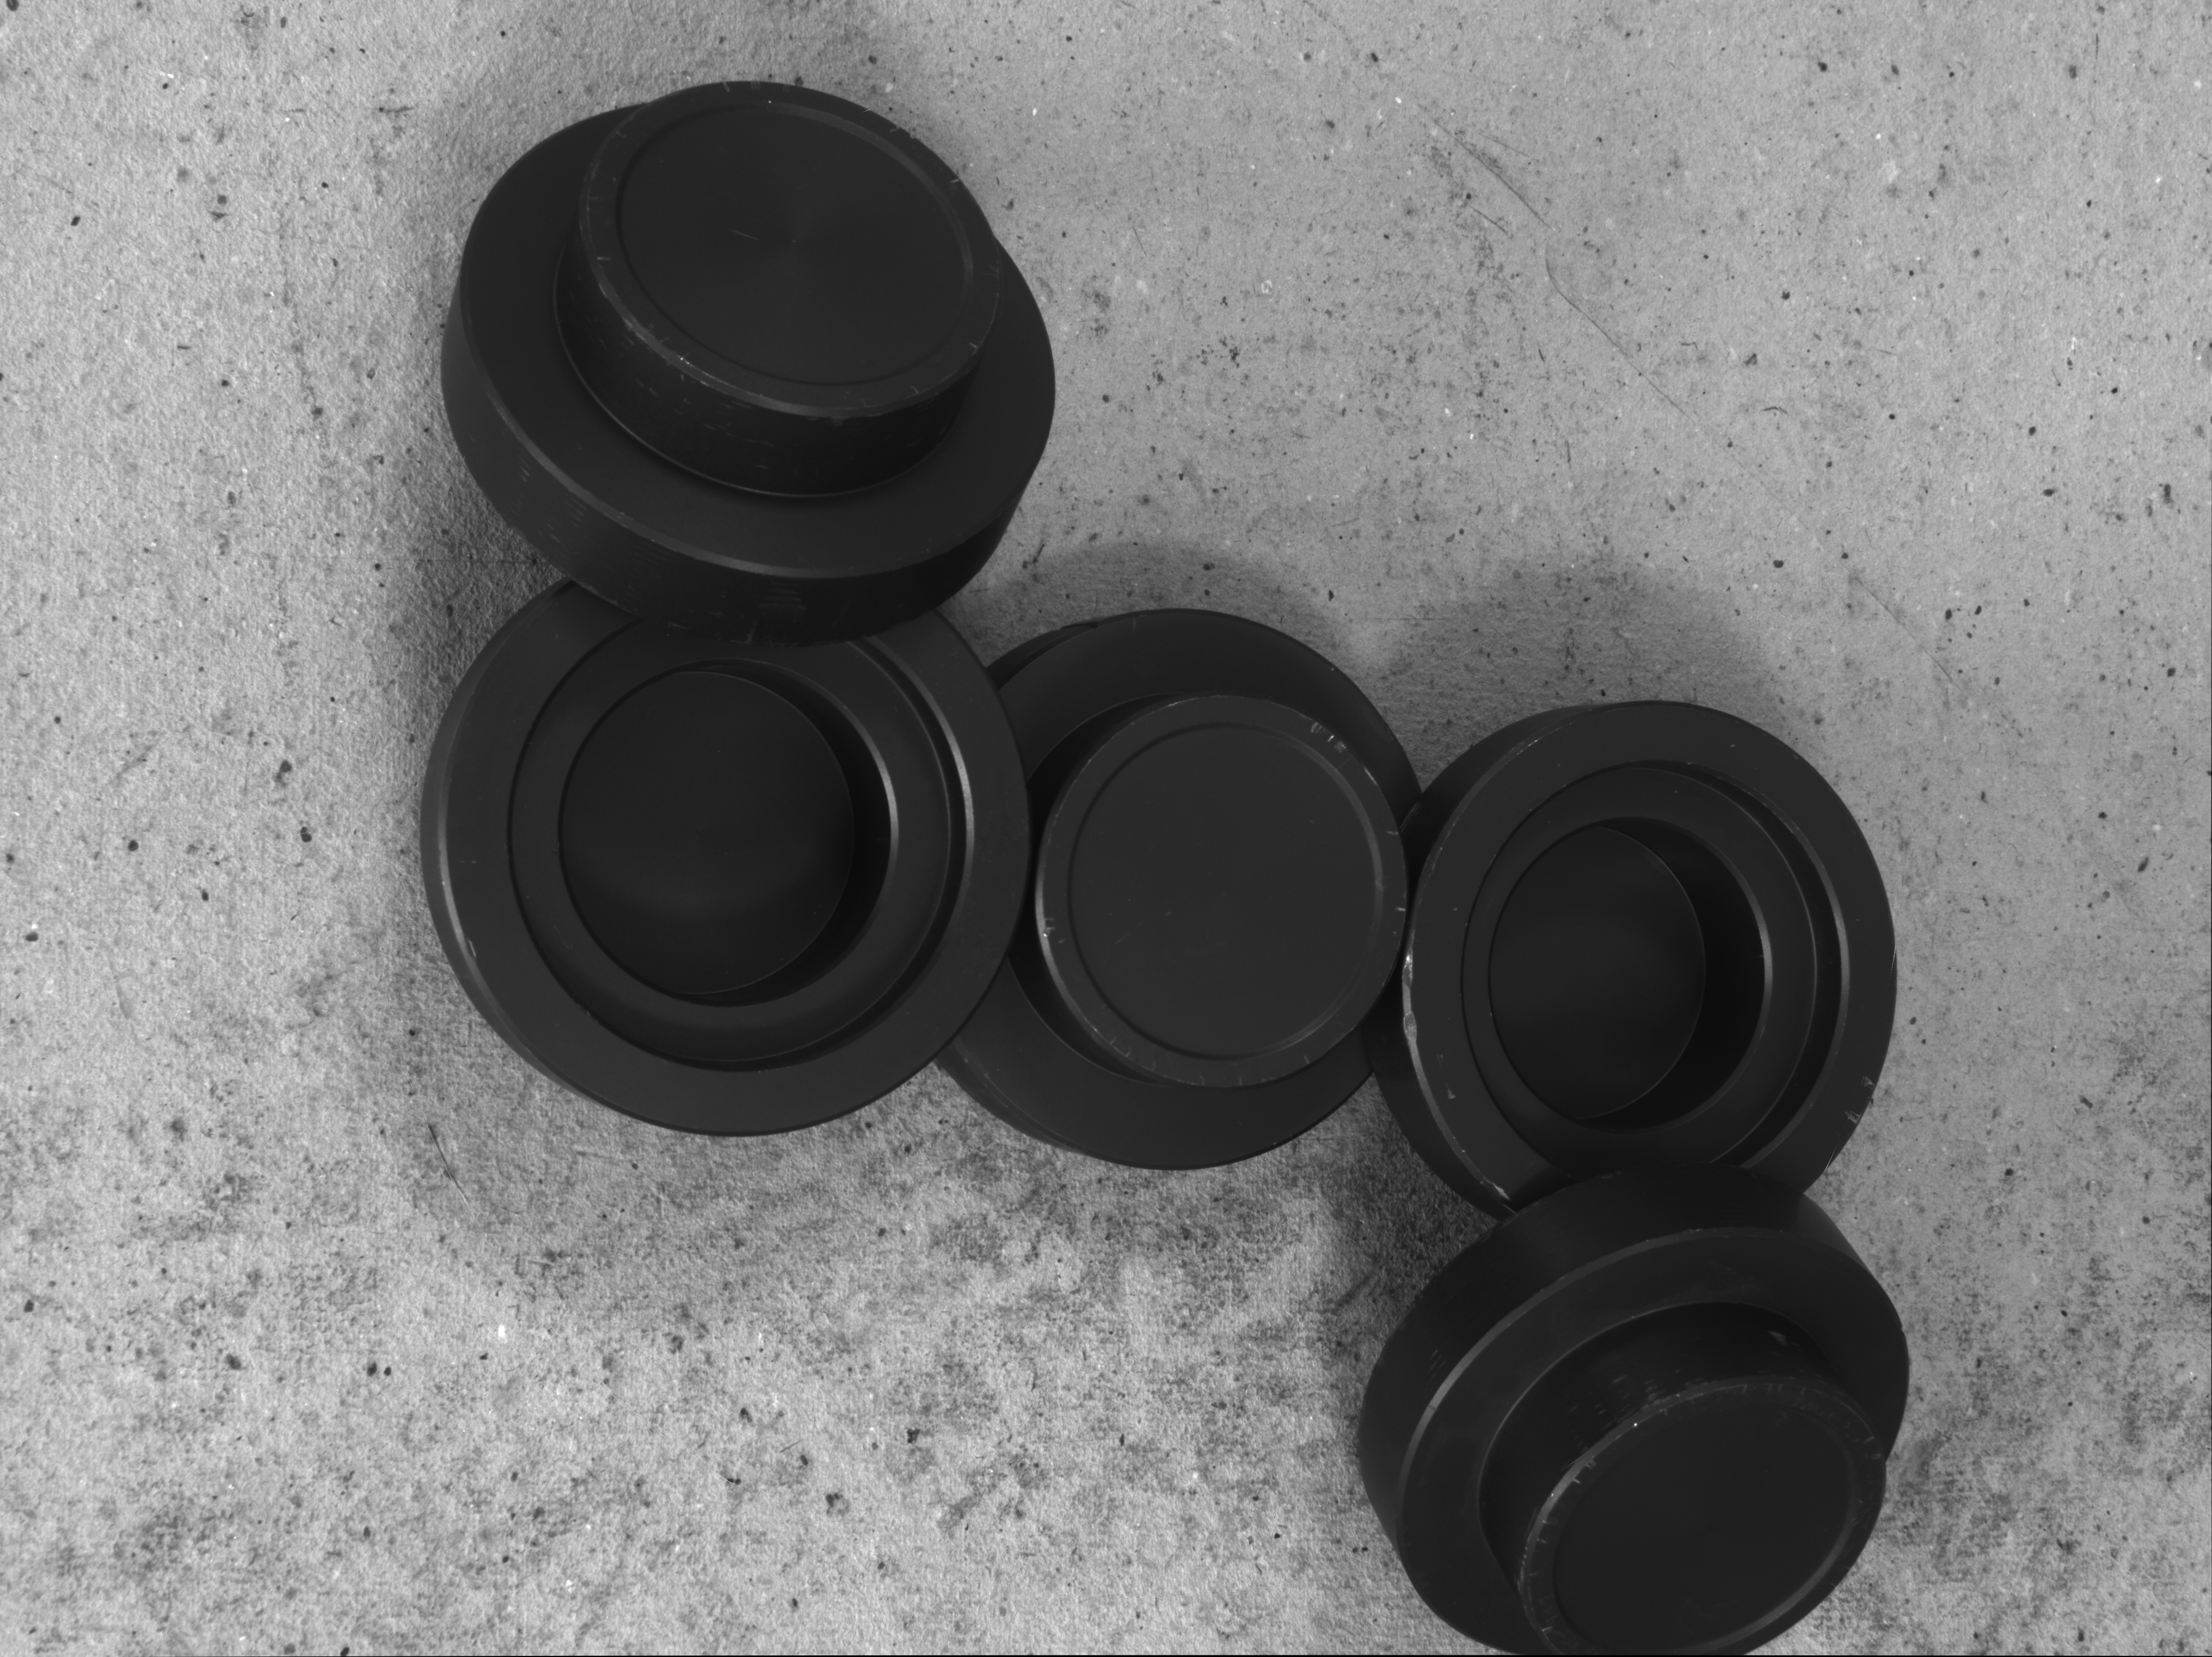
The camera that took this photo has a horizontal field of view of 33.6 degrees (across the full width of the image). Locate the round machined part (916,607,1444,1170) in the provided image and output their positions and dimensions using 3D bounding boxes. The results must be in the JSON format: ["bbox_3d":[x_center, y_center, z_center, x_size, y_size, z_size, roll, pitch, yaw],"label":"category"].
[{"bbox_3d":[0.014,0.010,0.638,0.098,0.042,0.098,1,87,-18],"label":"round machined part"}]

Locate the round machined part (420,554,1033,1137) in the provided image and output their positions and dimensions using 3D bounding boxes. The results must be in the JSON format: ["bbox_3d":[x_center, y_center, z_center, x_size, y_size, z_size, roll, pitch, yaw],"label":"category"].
[{"bbox_3d":[-0.065,0.001,0.610,0.098,0.042,0.098,0,90,-19],"label":"round machined part"}]

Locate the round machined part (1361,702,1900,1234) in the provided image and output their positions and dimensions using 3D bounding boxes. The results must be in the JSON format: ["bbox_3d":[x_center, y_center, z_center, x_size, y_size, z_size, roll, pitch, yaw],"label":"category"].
[{"bbox_3d":[0.091,0.027,0.666,0.098,0.042,0.098,0,90,-19],"label":"round machined part"}]

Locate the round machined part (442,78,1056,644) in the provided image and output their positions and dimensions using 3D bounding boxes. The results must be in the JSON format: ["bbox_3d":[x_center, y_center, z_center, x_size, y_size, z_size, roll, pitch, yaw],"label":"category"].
[{"bbox_3d":[-0.055,-0.081,0.590,0.098,0.042,0.098,10,56,-15],"label":"round machined part"}]

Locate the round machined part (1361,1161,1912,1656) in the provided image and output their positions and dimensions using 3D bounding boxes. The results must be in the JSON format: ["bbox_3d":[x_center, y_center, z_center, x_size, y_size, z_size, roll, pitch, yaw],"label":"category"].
[{"bbox_3d":[0.098,0.111,0.645,0.098,0.042,0.098,-9,122,-14],"label":"round machined part"}]
